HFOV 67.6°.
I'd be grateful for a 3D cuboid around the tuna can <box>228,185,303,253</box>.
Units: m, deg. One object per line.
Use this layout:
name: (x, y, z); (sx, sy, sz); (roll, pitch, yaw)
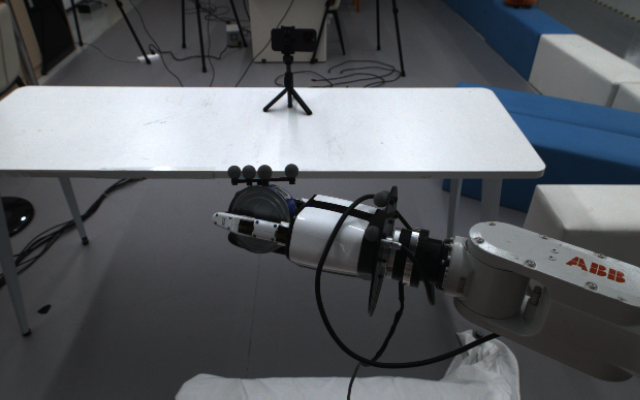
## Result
tuna can: (-0.070, 0.023, 0.613); (0.085, 0.085, 0.034); (15, 10, 18)
